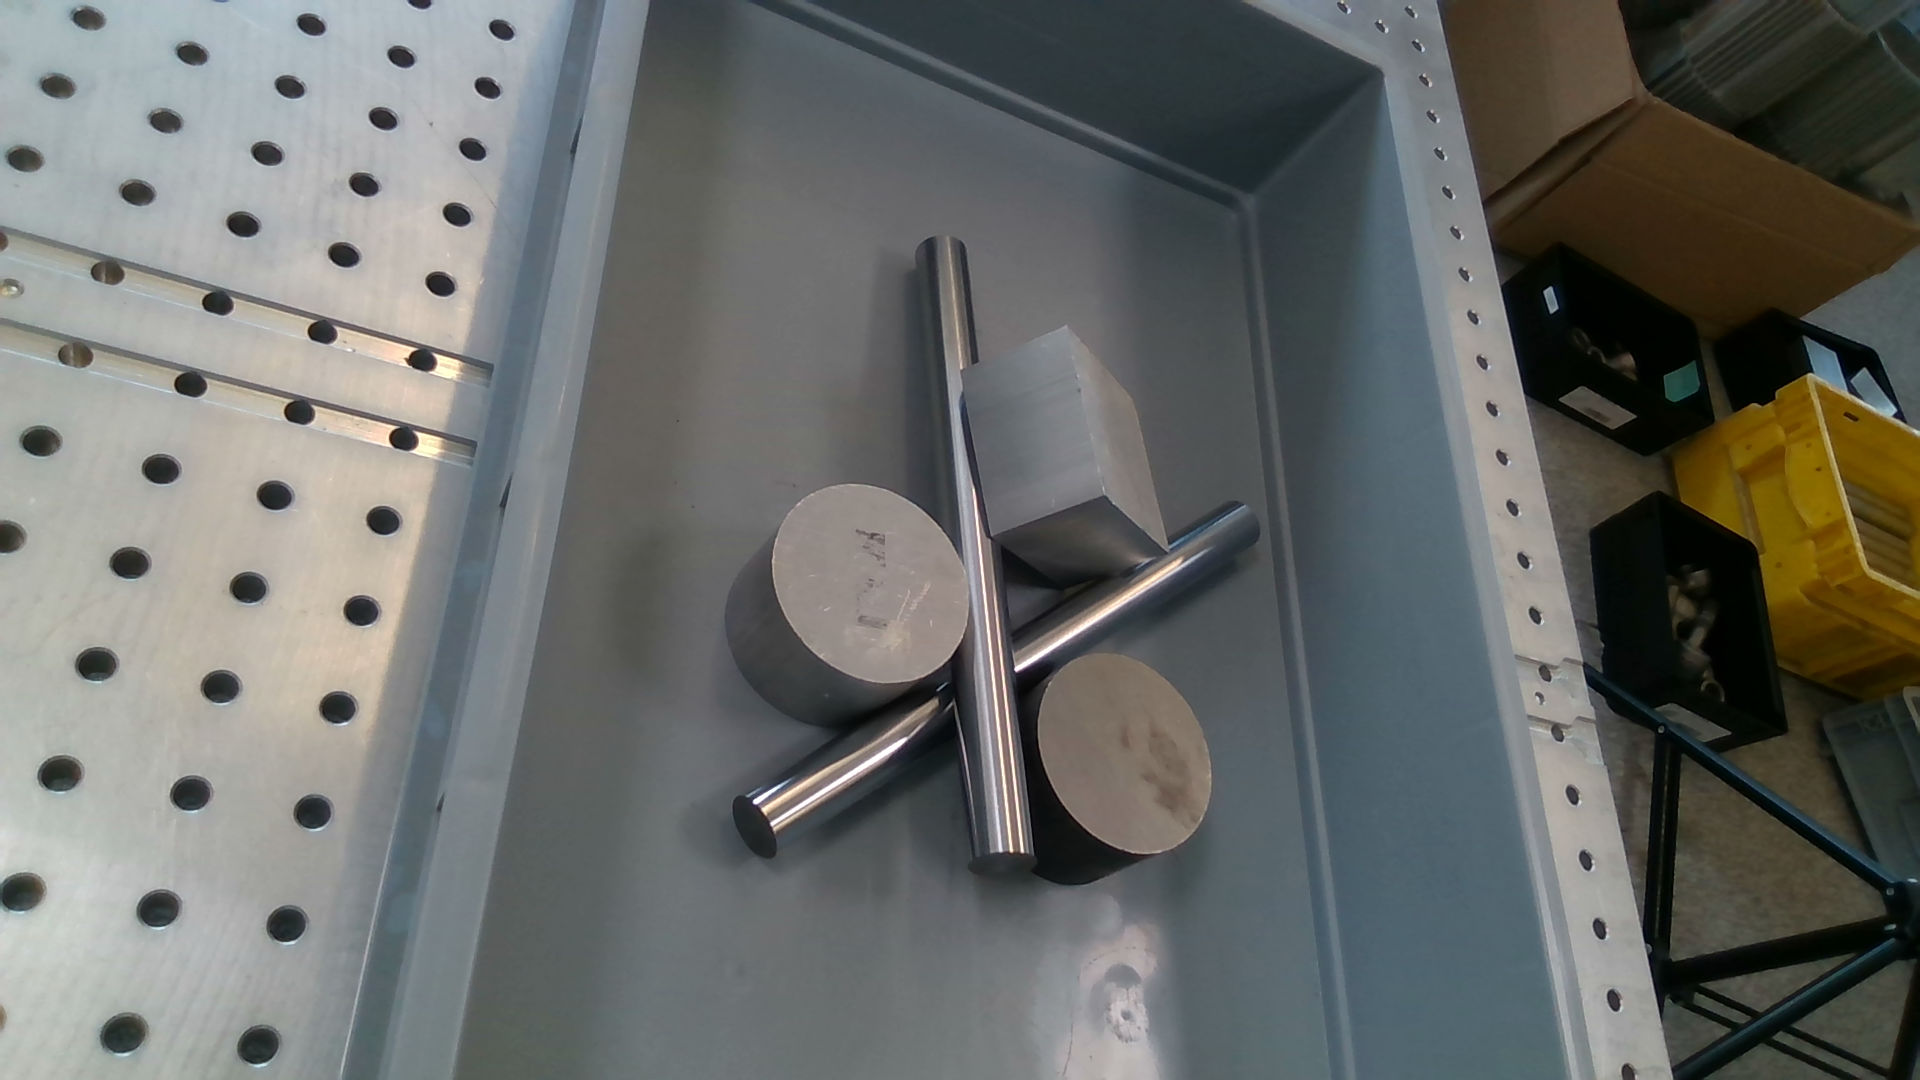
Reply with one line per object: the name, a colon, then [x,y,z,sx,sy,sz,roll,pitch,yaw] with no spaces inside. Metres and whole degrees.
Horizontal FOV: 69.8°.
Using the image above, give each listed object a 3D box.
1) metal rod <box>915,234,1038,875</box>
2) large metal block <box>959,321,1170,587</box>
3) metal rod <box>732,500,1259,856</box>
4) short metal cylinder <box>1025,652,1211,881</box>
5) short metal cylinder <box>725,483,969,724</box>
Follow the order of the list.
metal rod: [0.003,-0.010,0.570,0.025,0.025,0.299,12,53,-26]
large metal block: [0.046,-0.034,0.592,0.080,0.050,0.080,34,41,-58]
metal rod: [0.031,0.046,0.580,0.300,0.025,0.025,-28,81,-38]
short metal cylinder: [0.053,0.091,0.553,0.080,0.050,0.080,14,59,-25]
short metal cylinder: [-0.044,0.025,0.528,0.080,0.050,0.080,14,59,-25]
